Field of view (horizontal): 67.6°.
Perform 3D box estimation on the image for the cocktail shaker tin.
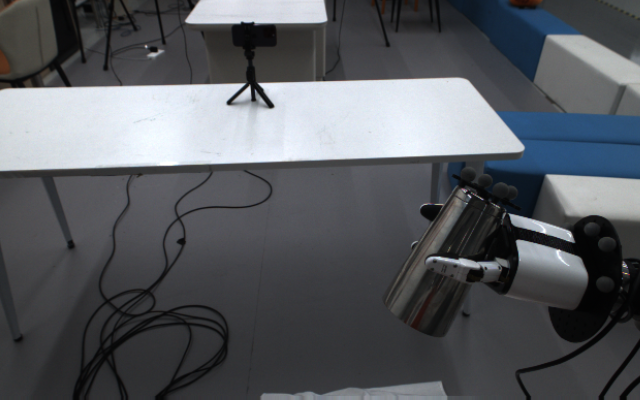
[{"bbox_3d":[0.159,0.069,0.599,0.093,0.170,0.093,24,13,-6],"label":"cocktail shaker tin"}]
